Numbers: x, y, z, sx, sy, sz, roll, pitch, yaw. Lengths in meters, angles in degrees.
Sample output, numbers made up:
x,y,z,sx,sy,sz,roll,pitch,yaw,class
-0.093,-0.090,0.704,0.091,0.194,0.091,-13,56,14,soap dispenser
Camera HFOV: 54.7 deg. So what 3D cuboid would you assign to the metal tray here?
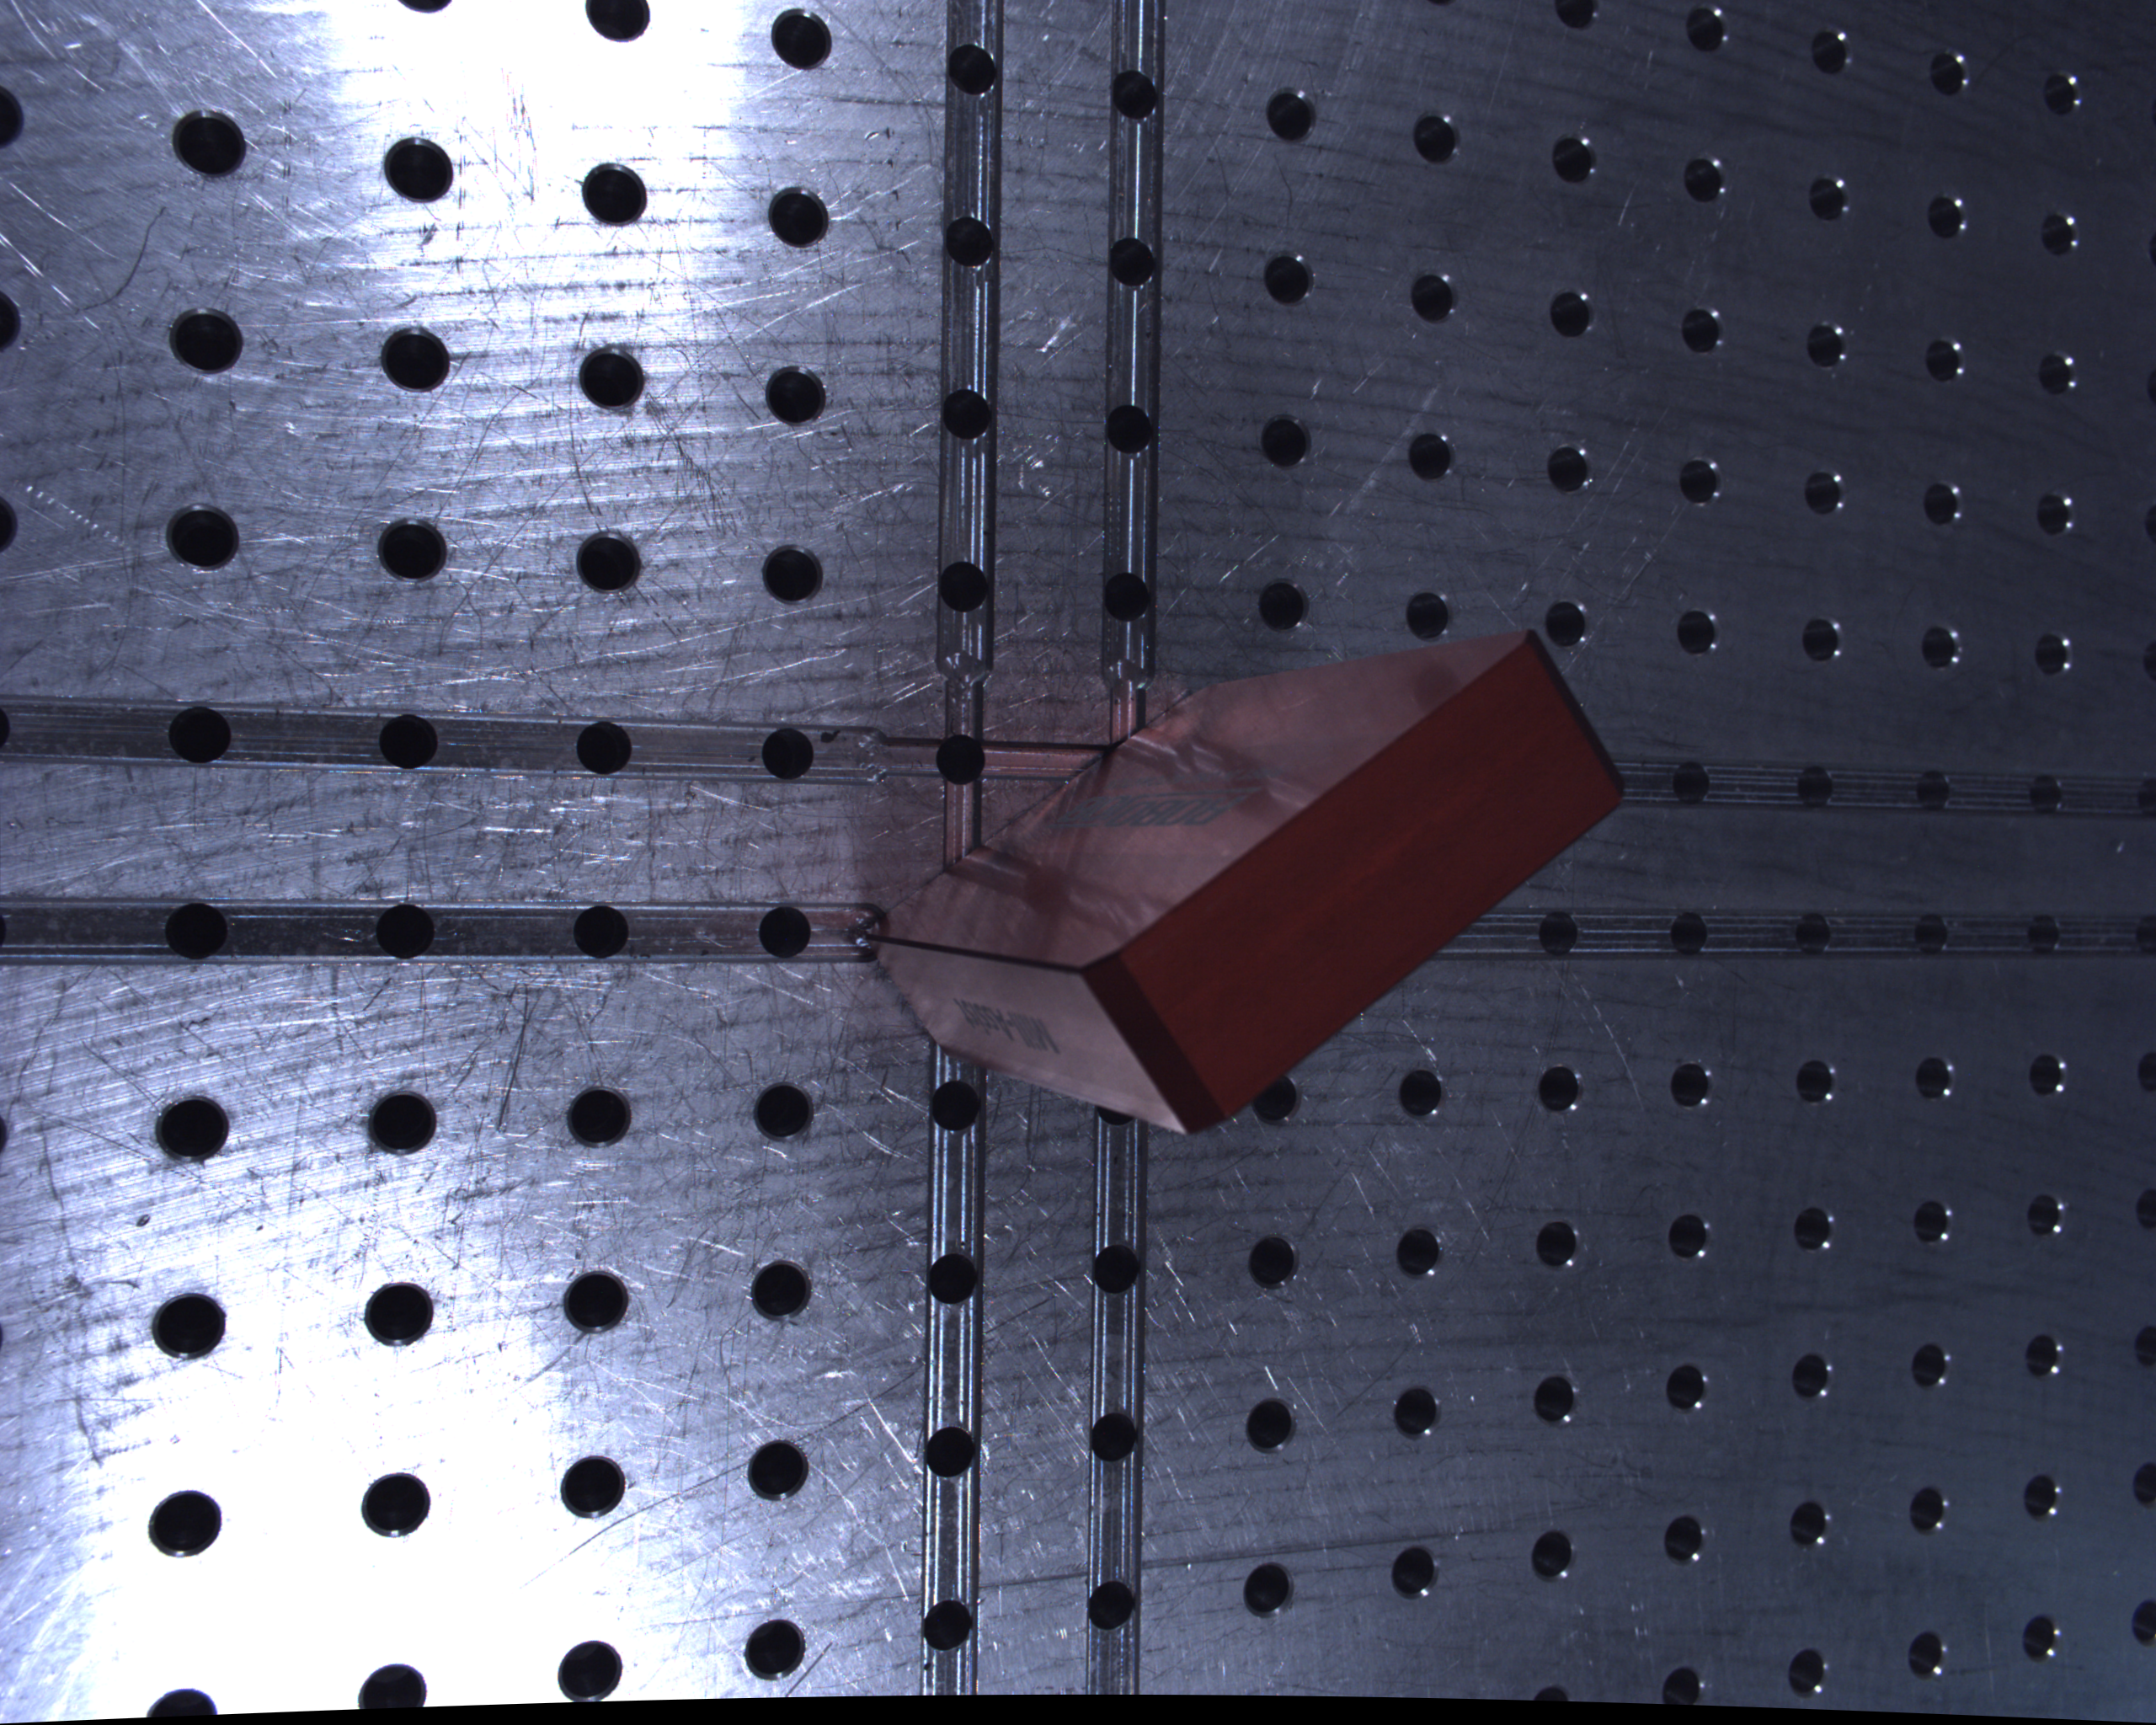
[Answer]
x,y,z,sx,sy,sz,roll,pitch,yaw,class
0.022,0.001,0.366,0.090,0.130,0.030,-36,102,-17,metal tray
